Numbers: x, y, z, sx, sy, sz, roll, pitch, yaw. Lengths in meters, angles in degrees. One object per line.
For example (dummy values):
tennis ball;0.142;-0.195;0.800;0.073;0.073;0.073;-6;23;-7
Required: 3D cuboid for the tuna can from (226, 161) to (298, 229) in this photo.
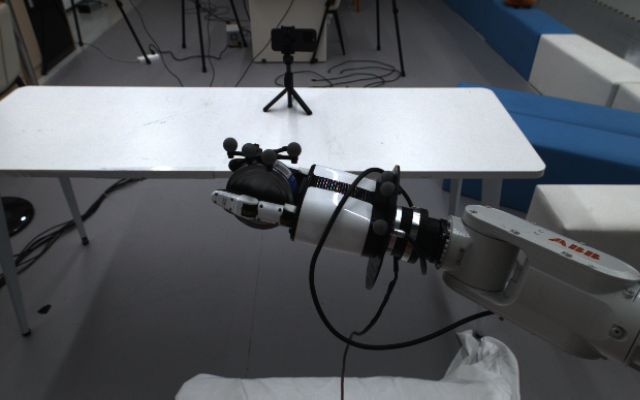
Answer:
tuna can;-0.069;-0.009;0.601;0.085;0.085;0.034;9;23;9
